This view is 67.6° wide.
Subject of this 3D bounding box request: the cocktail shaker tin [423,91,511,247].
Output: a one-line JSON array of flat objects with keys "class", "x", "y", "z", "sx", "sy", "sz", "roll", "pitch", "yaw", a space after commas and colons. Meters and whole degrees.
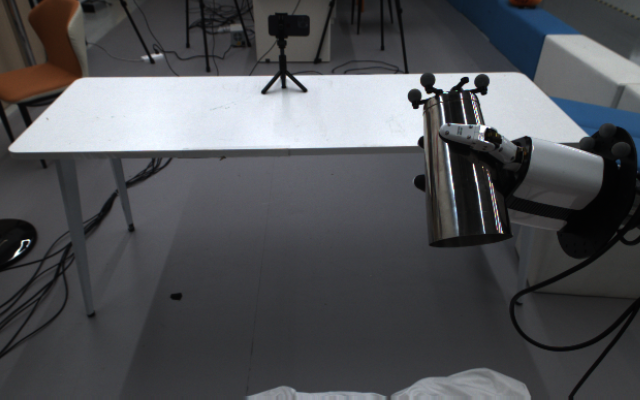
[{"class": "cocktail shaker tin", "x": 0.165, "y": -0.036, "z": 0.566, "sx": 0.093, "sy": 0.093, "sz": 0.170, "roll": -3, "pitch": 76, "yaw": -8}]
